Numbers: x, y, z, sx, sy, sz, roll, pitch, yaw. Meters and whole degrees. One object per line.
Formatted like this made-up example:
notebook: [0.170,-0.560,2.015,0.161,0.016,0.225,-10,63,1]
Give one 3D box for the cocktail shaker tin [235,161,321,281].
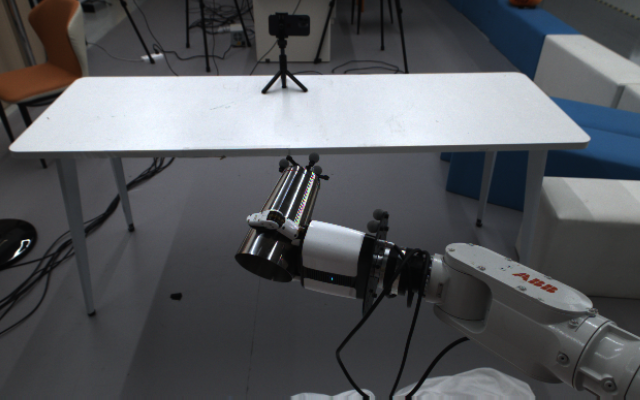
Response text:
cocktail shaker tin: [-0.059,0.032,0.756,0.093,0.093,0.170,14,60,16]
